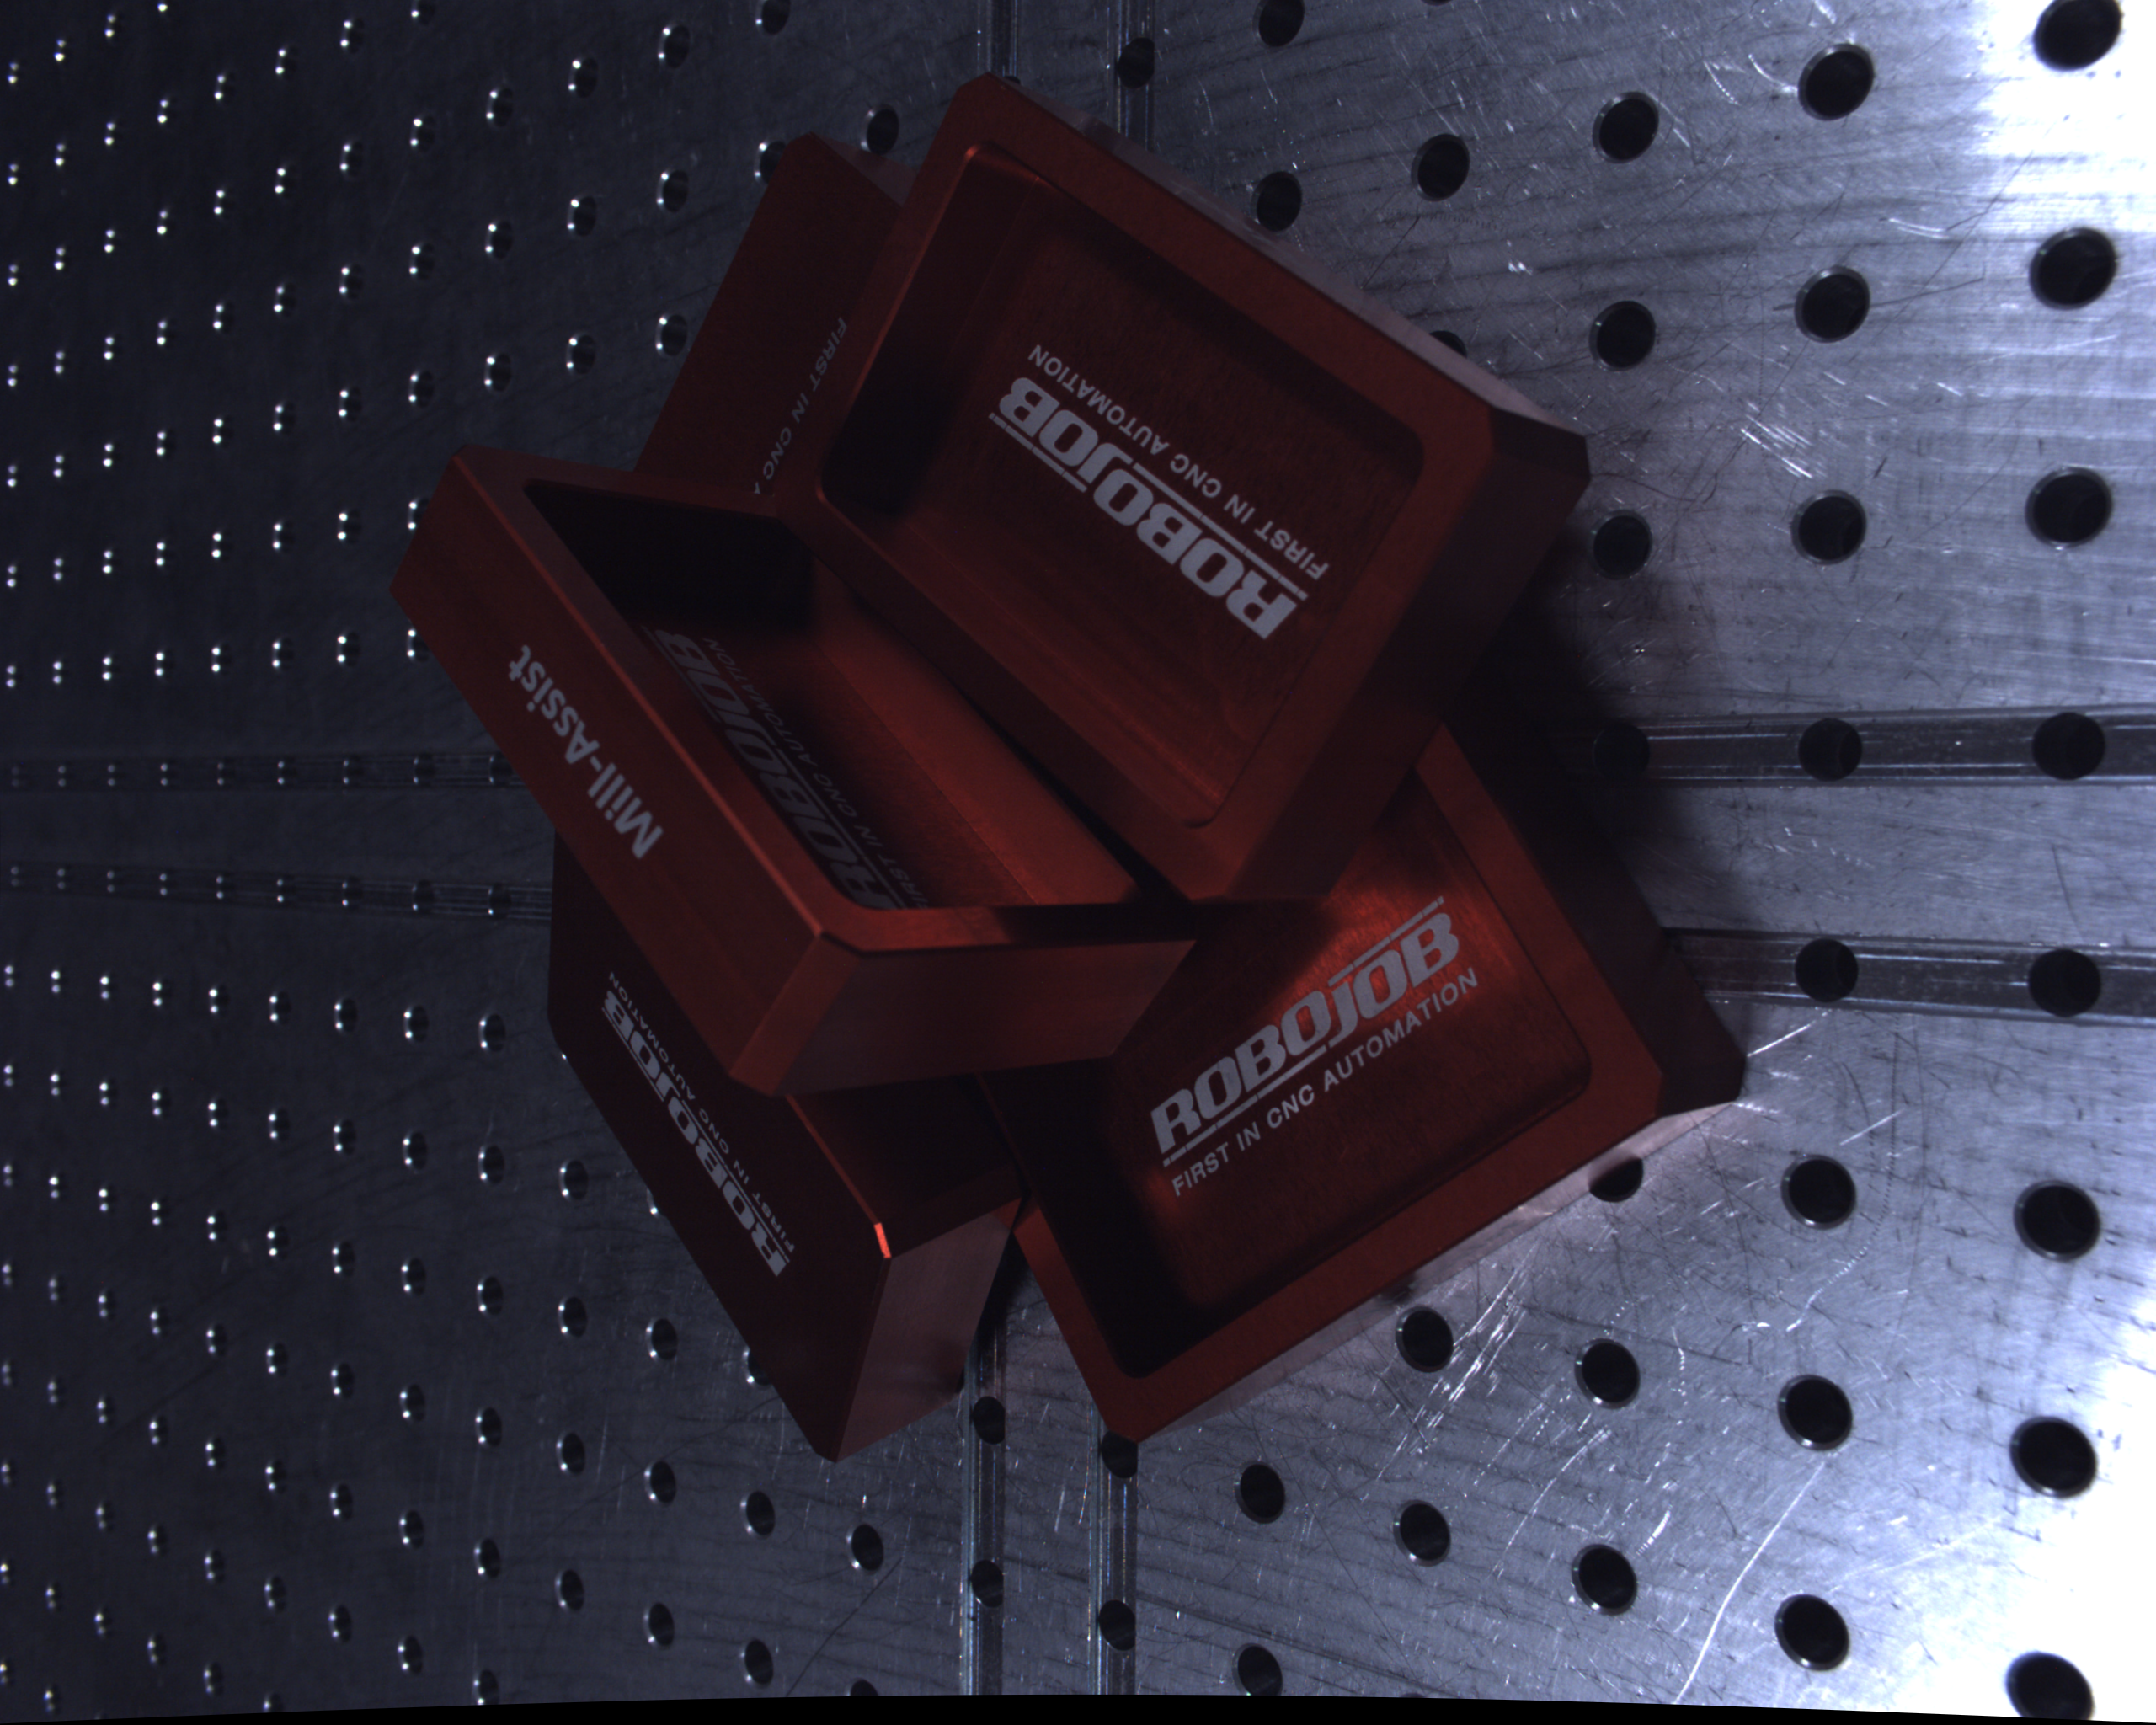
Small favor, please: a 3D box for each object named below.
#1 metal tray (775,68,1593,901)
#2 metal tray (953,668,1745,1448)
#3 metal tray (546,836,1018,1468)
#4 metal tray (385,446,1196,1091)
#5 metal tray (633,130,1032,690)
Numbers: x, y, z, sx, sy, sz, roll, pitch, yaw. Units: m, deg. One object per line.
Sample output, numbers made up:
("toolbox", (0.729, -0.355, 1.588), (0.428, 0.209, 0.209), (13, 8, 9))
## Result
("metal tray", (0.011, -0.065, 0.356), (0.130, 0.030, 0.089), (44, 116, 31))
("metal tray", (0.039, 0.035, 0.371), (0.129, 0.030, 0.090), (-41, 66, 32))
("metal tray", (-0.068, 0.049, 0.435), (0.130, 0.030, 0.089), (50, 145, 28))
("metal tray", (-0.050, -0.019, 0.366), (0.130, 0.091, 0.030), (48, 119, 29))
("metal tray", (-0.053, -0.076, 0.447), (0.090, 0.030, 0.129), (46, 117, 30))
